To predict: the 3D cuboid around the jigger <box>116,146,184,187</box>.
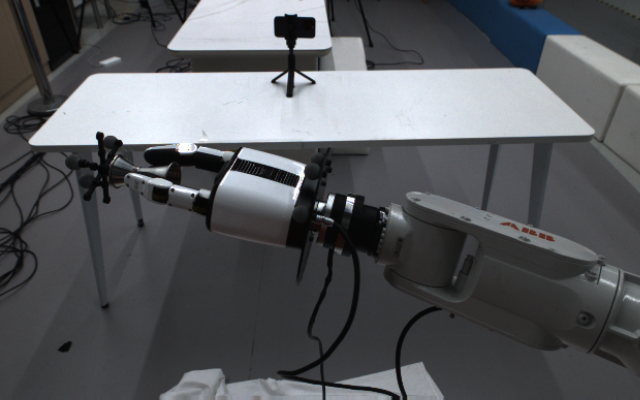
[{"bbox_3d":[-0.192,-0.032,0.559,0.071,0.043,0.043,8,35,5],"label":"jigger"}]
